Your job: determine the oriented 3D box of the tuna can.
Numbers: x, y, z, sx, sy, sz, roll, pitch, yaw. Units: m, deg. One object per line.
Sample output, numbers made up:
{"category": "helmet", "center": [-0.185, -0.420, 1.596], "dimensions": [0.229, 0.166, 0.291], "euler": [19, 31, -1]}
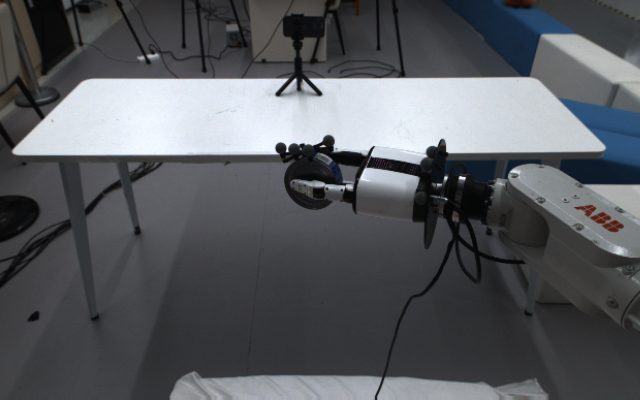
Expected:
{"category": "tuna can", "center": [-0.007, -0.026, 0.743], "dimensions": [0.085, 0.085, 0.034], "euler": [13, 29, 15]}
